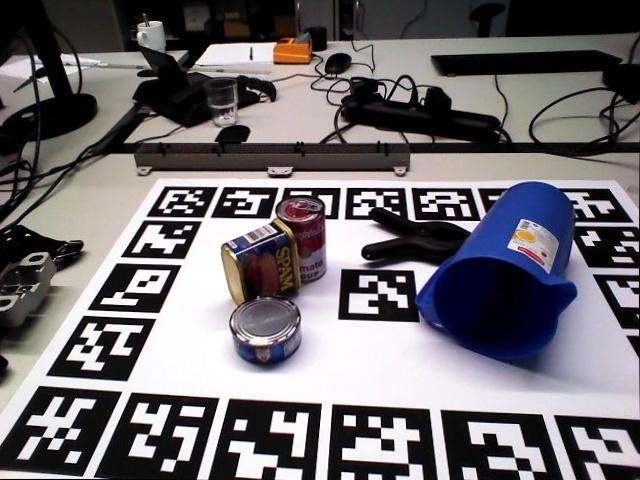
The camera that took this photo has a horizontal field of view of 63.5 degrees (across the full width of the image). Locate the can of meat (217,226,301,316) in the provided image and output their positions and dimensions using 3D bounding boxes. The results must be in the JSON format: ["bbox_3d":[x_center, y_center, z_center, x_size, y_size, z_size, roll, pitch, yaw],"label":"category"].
[{"bbox_3d":[-0.078,0.044,0.665,0.083,0.102,0.058,-25,43,-20],"label":"can of meat"}]

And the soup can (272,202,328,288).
[{"bbox_3d":[-0.026,0.007,0.717,0.068,0.102,0.067,-5,38,3],"label":"soup can"}]

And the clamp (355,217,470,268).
[{"bbox_3d":[0.137,0.007,0.771,0.165,0.037,0.121,4,33,5],"label":"clamp"}]

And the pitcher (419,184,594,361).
[{"bbox_3d":[0.237,0.024,0.635,0.190,0.133,0.240,-7,23,35],"label":"pitcher"}]

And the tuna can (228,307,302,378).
[{"bbox_3d":[-0.064,0.122,0.621,0.086,0.034,0.085,-3,38,2],"label":"tuna can"}]
